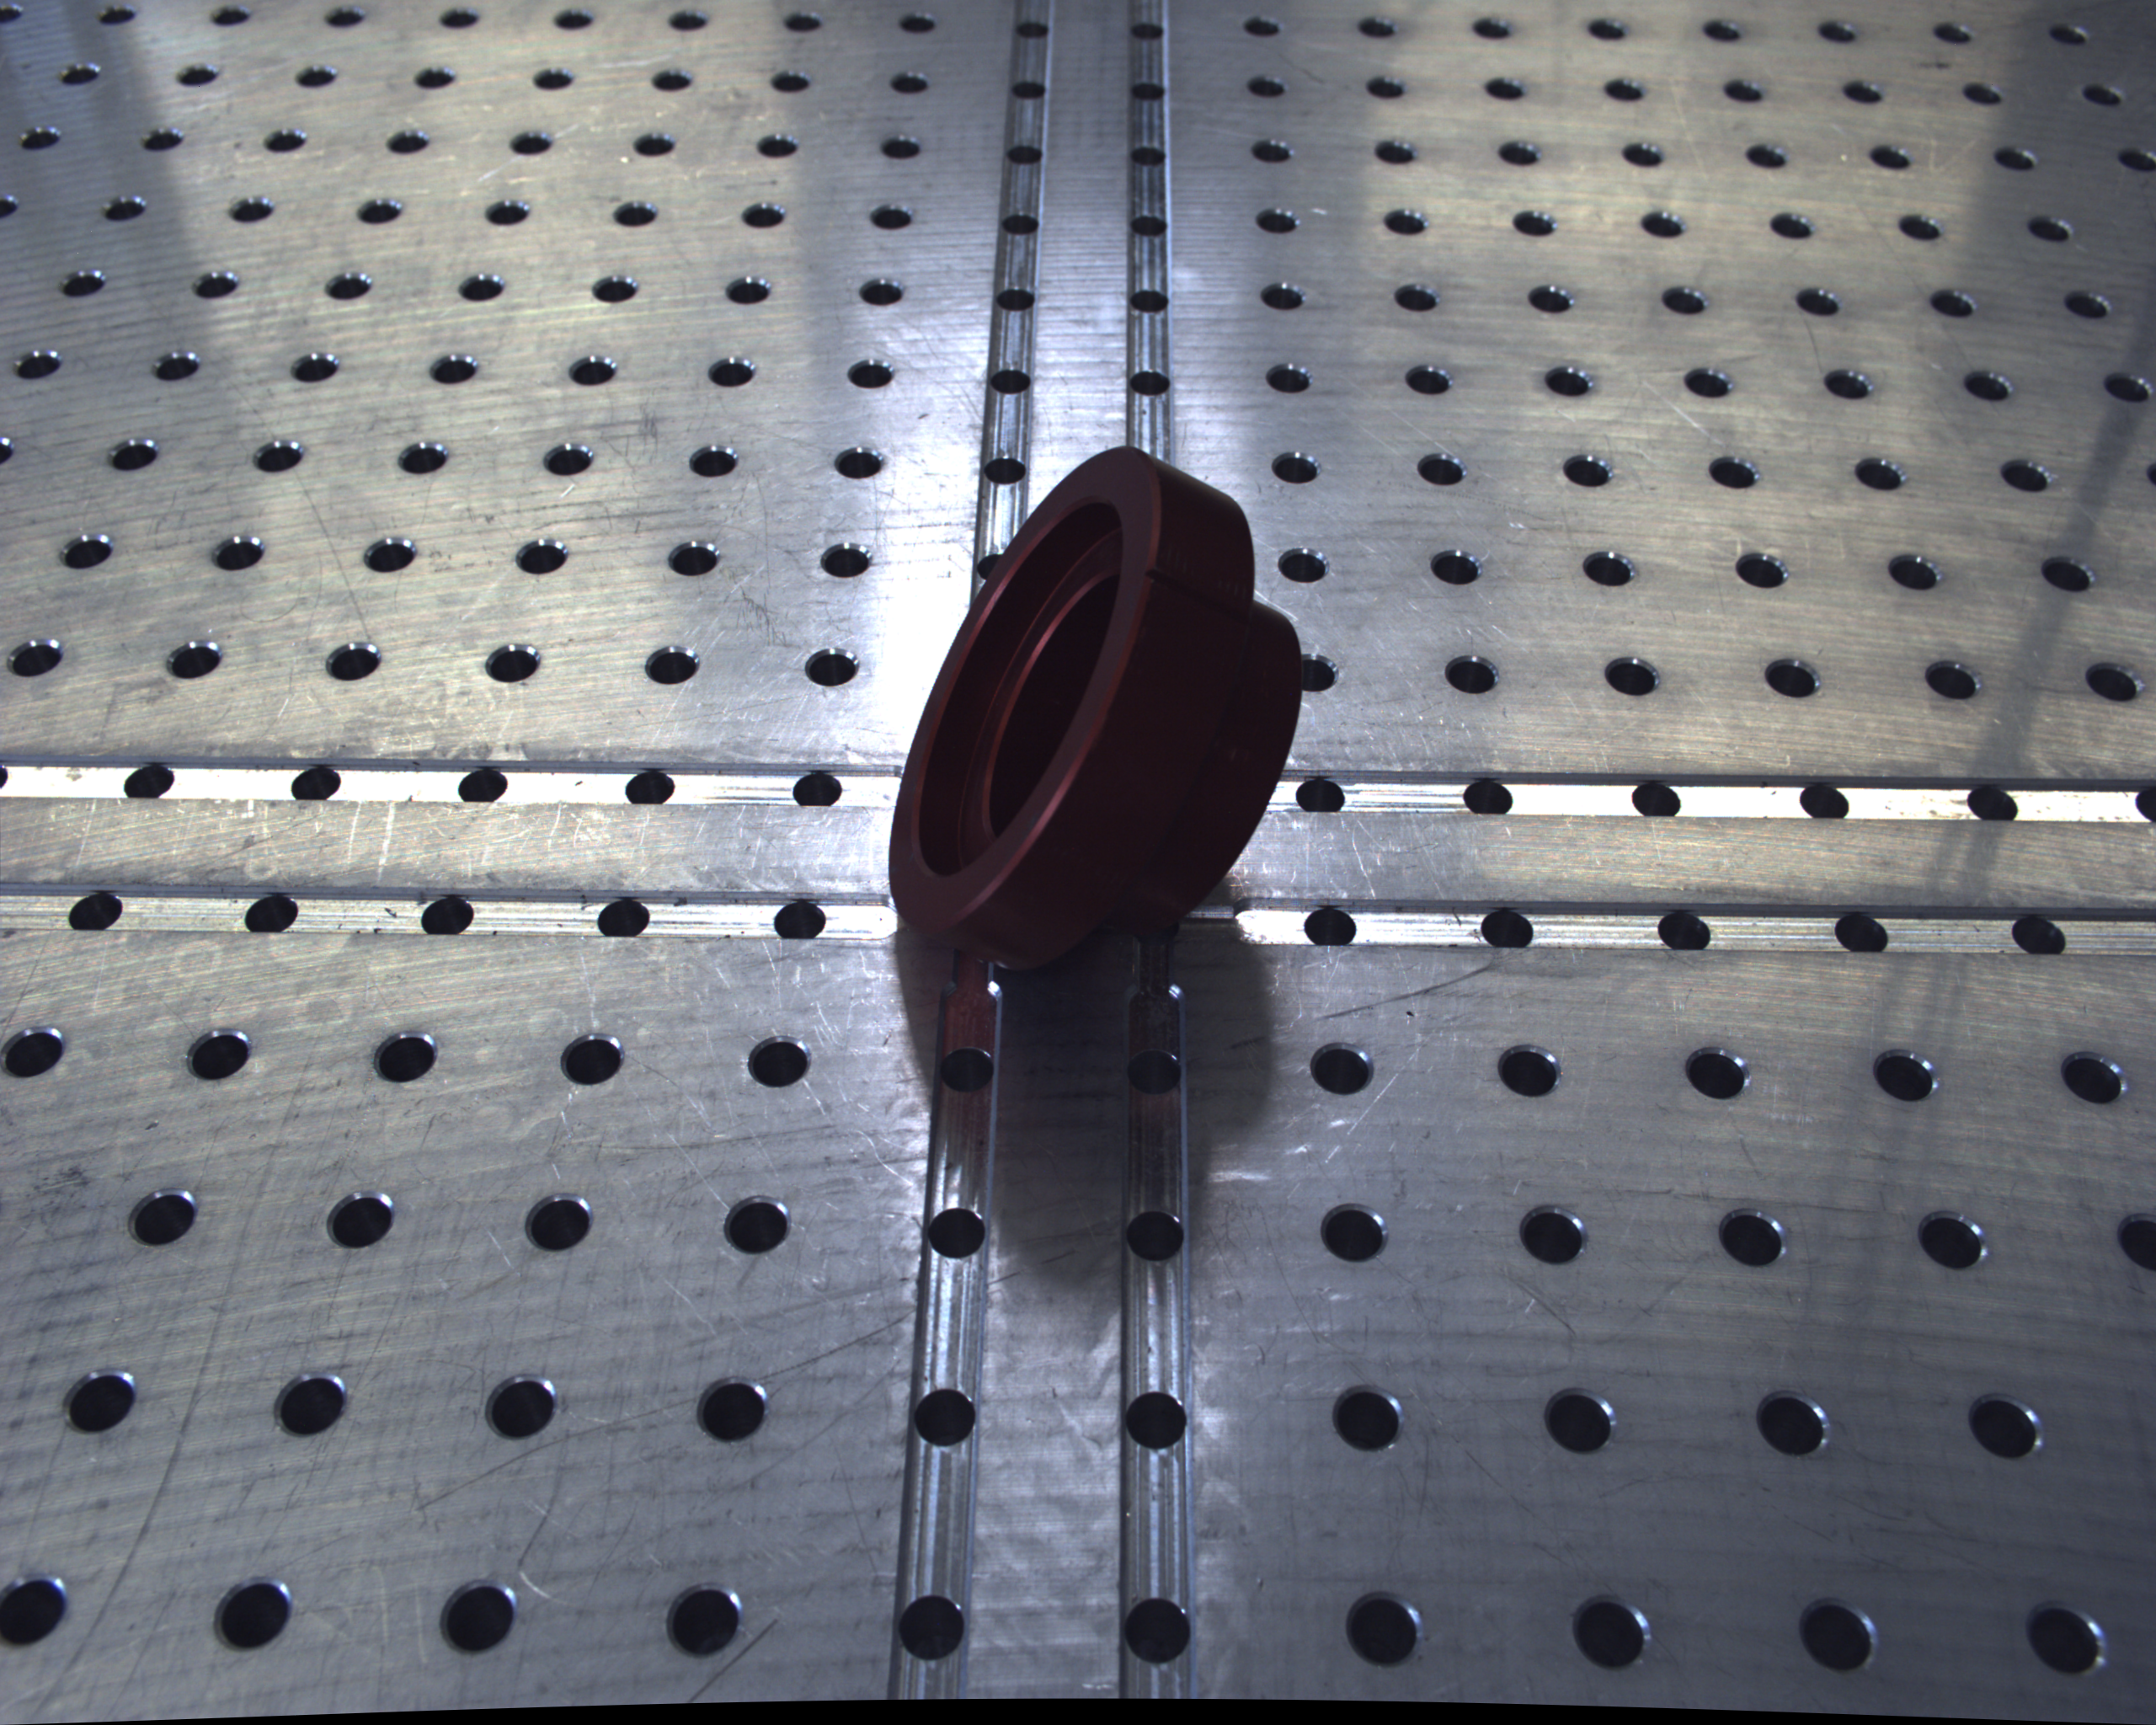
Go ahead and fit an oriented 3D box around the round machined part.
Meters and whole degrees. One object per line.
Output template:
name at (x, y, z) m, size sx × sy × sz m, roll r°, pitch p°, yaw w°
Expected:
round machined part at (0.006, -0.025, 0.394) m, size 0.042 × 0.098 × 0.098 m, roll 23°, pitch 47°, yaw -21°
